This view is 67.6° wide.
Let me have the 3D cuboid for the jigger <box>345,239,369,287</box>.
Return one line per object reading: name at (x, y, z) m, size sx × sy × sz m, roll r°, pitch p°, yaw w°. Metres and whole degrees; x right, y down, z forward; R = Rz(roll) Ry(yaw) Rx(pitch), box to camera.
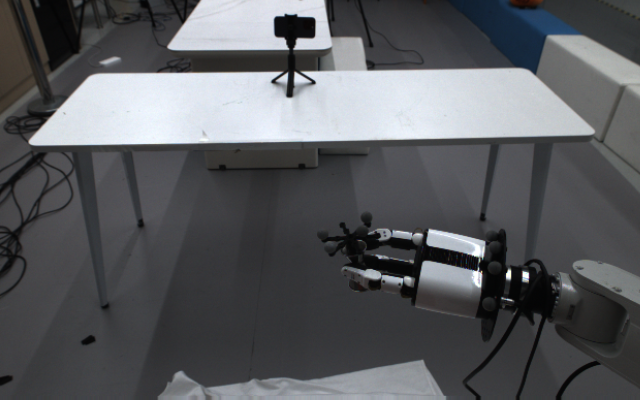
jigger at (0.057, 0.097, 0.723) m, size 0.043 × 0.071 × 0.043 m, roll -12°, pitch 29°, yaw 7°
